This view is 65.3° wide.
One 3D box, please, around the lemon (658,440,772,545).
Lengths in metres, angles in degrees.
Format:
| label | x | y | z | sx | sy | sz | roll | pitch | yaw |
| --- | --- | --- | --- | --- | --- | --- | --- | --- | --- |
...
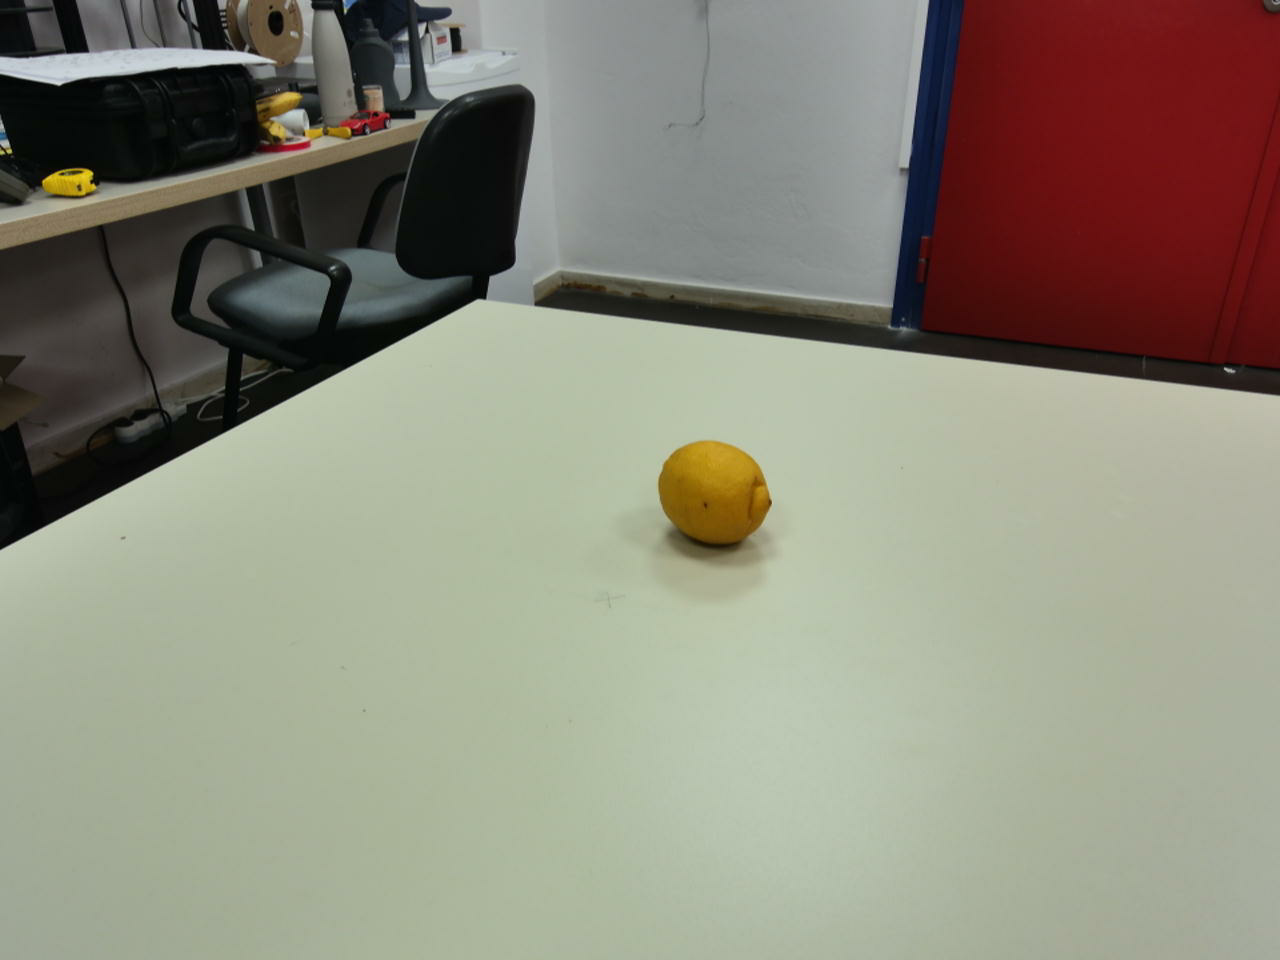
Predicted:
| label | x | y | z | sx | sy | sz | roll | pitch | yaw |
| --- | --- | --- | --- | --- | --- | --- | --- | --- | --- |
| lemon | 0.043 | 0.008 | 0.594 | 0.061 | 0.059 | 0.067 | -10 | 28 | -21 |
